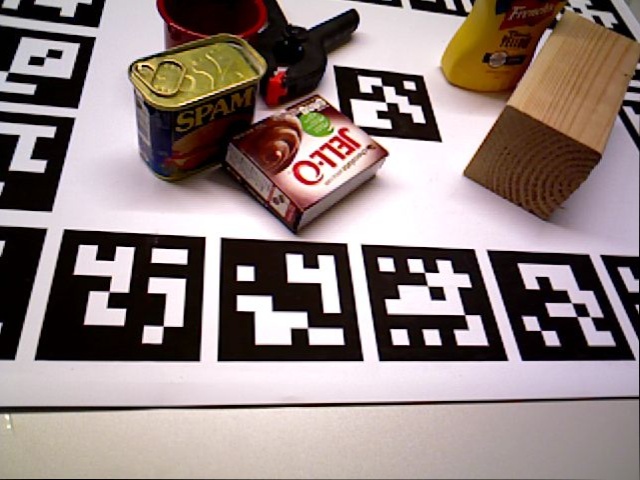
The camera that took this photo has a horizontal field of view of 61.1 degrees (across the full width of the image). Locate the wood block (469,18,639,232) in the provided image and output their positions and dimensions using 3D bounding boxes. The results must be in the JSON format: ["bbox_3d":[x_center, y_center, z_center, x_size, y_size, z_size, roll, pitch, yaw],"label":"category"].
[{"bbox_3d":[0.234,-0.118,0.525,0.090,0.093,0.201,32,53,11],"label":"wood block"}]

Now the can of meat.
[{"bbox_3d":[-0.098,-0.102,0.425,0.100,0.086,0.057,-26,67,-28],"label":"can of meat"}]

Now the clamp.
[{"bbox_3d":[-0.027,-0.200,0.550,0.121,0.037,0.162,19,56,-3],"label":"clamp"}]

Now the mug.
[{"bbox_3d":[-0.102,-0.174,0.508,0.093,0.083,0.115,21,56,0],"label":"mug"}]

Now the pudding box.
[{"bbox_3d":[-0.007,-0.063,0.456,0.090,0.039,0.111,44,56,16],"label":"pudding box"}]

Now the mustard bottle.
[{"bbox_3d":[0.197,-0.237,0.527,0.095,0.196,0.058,-1,57,-15],"label":"mustard bottle"}]
